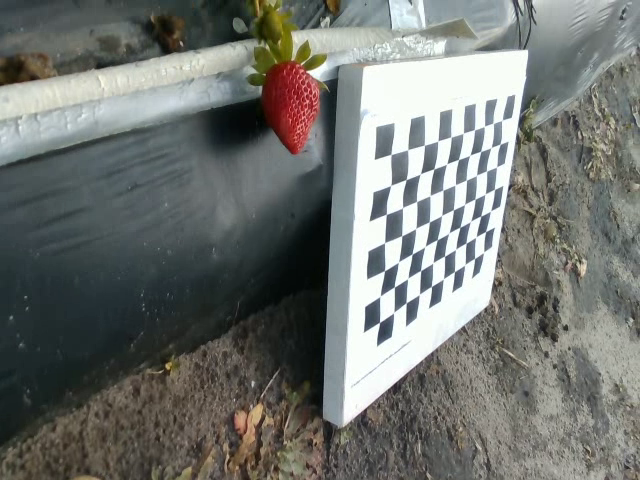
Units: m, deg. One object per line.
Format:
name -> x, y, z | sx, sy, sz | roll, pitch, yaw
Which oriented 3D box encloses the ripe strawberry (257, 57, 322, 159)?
ripe strawberry -> -0.013, -0.065, 0.321 | 0.030, 0.052, 0.048 | -9, -26, 24
